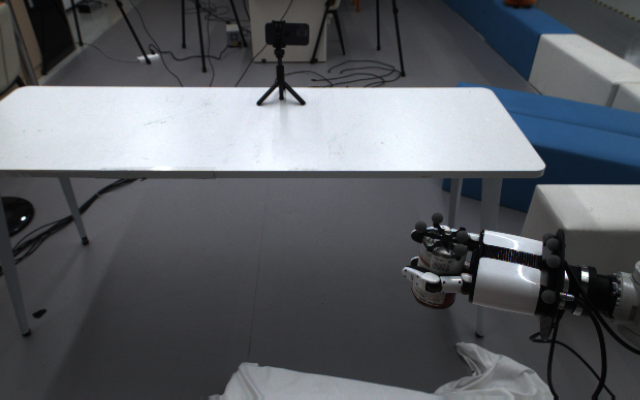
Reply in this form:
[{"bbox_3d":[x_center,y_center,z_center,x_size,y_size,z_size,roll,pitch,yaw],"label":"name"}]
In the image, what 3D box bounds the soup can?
[{"bbox_3d":[0.182,0.105,0.734,0.067,0.101,0.067,4,30,-2],"label":"soup can"}]
